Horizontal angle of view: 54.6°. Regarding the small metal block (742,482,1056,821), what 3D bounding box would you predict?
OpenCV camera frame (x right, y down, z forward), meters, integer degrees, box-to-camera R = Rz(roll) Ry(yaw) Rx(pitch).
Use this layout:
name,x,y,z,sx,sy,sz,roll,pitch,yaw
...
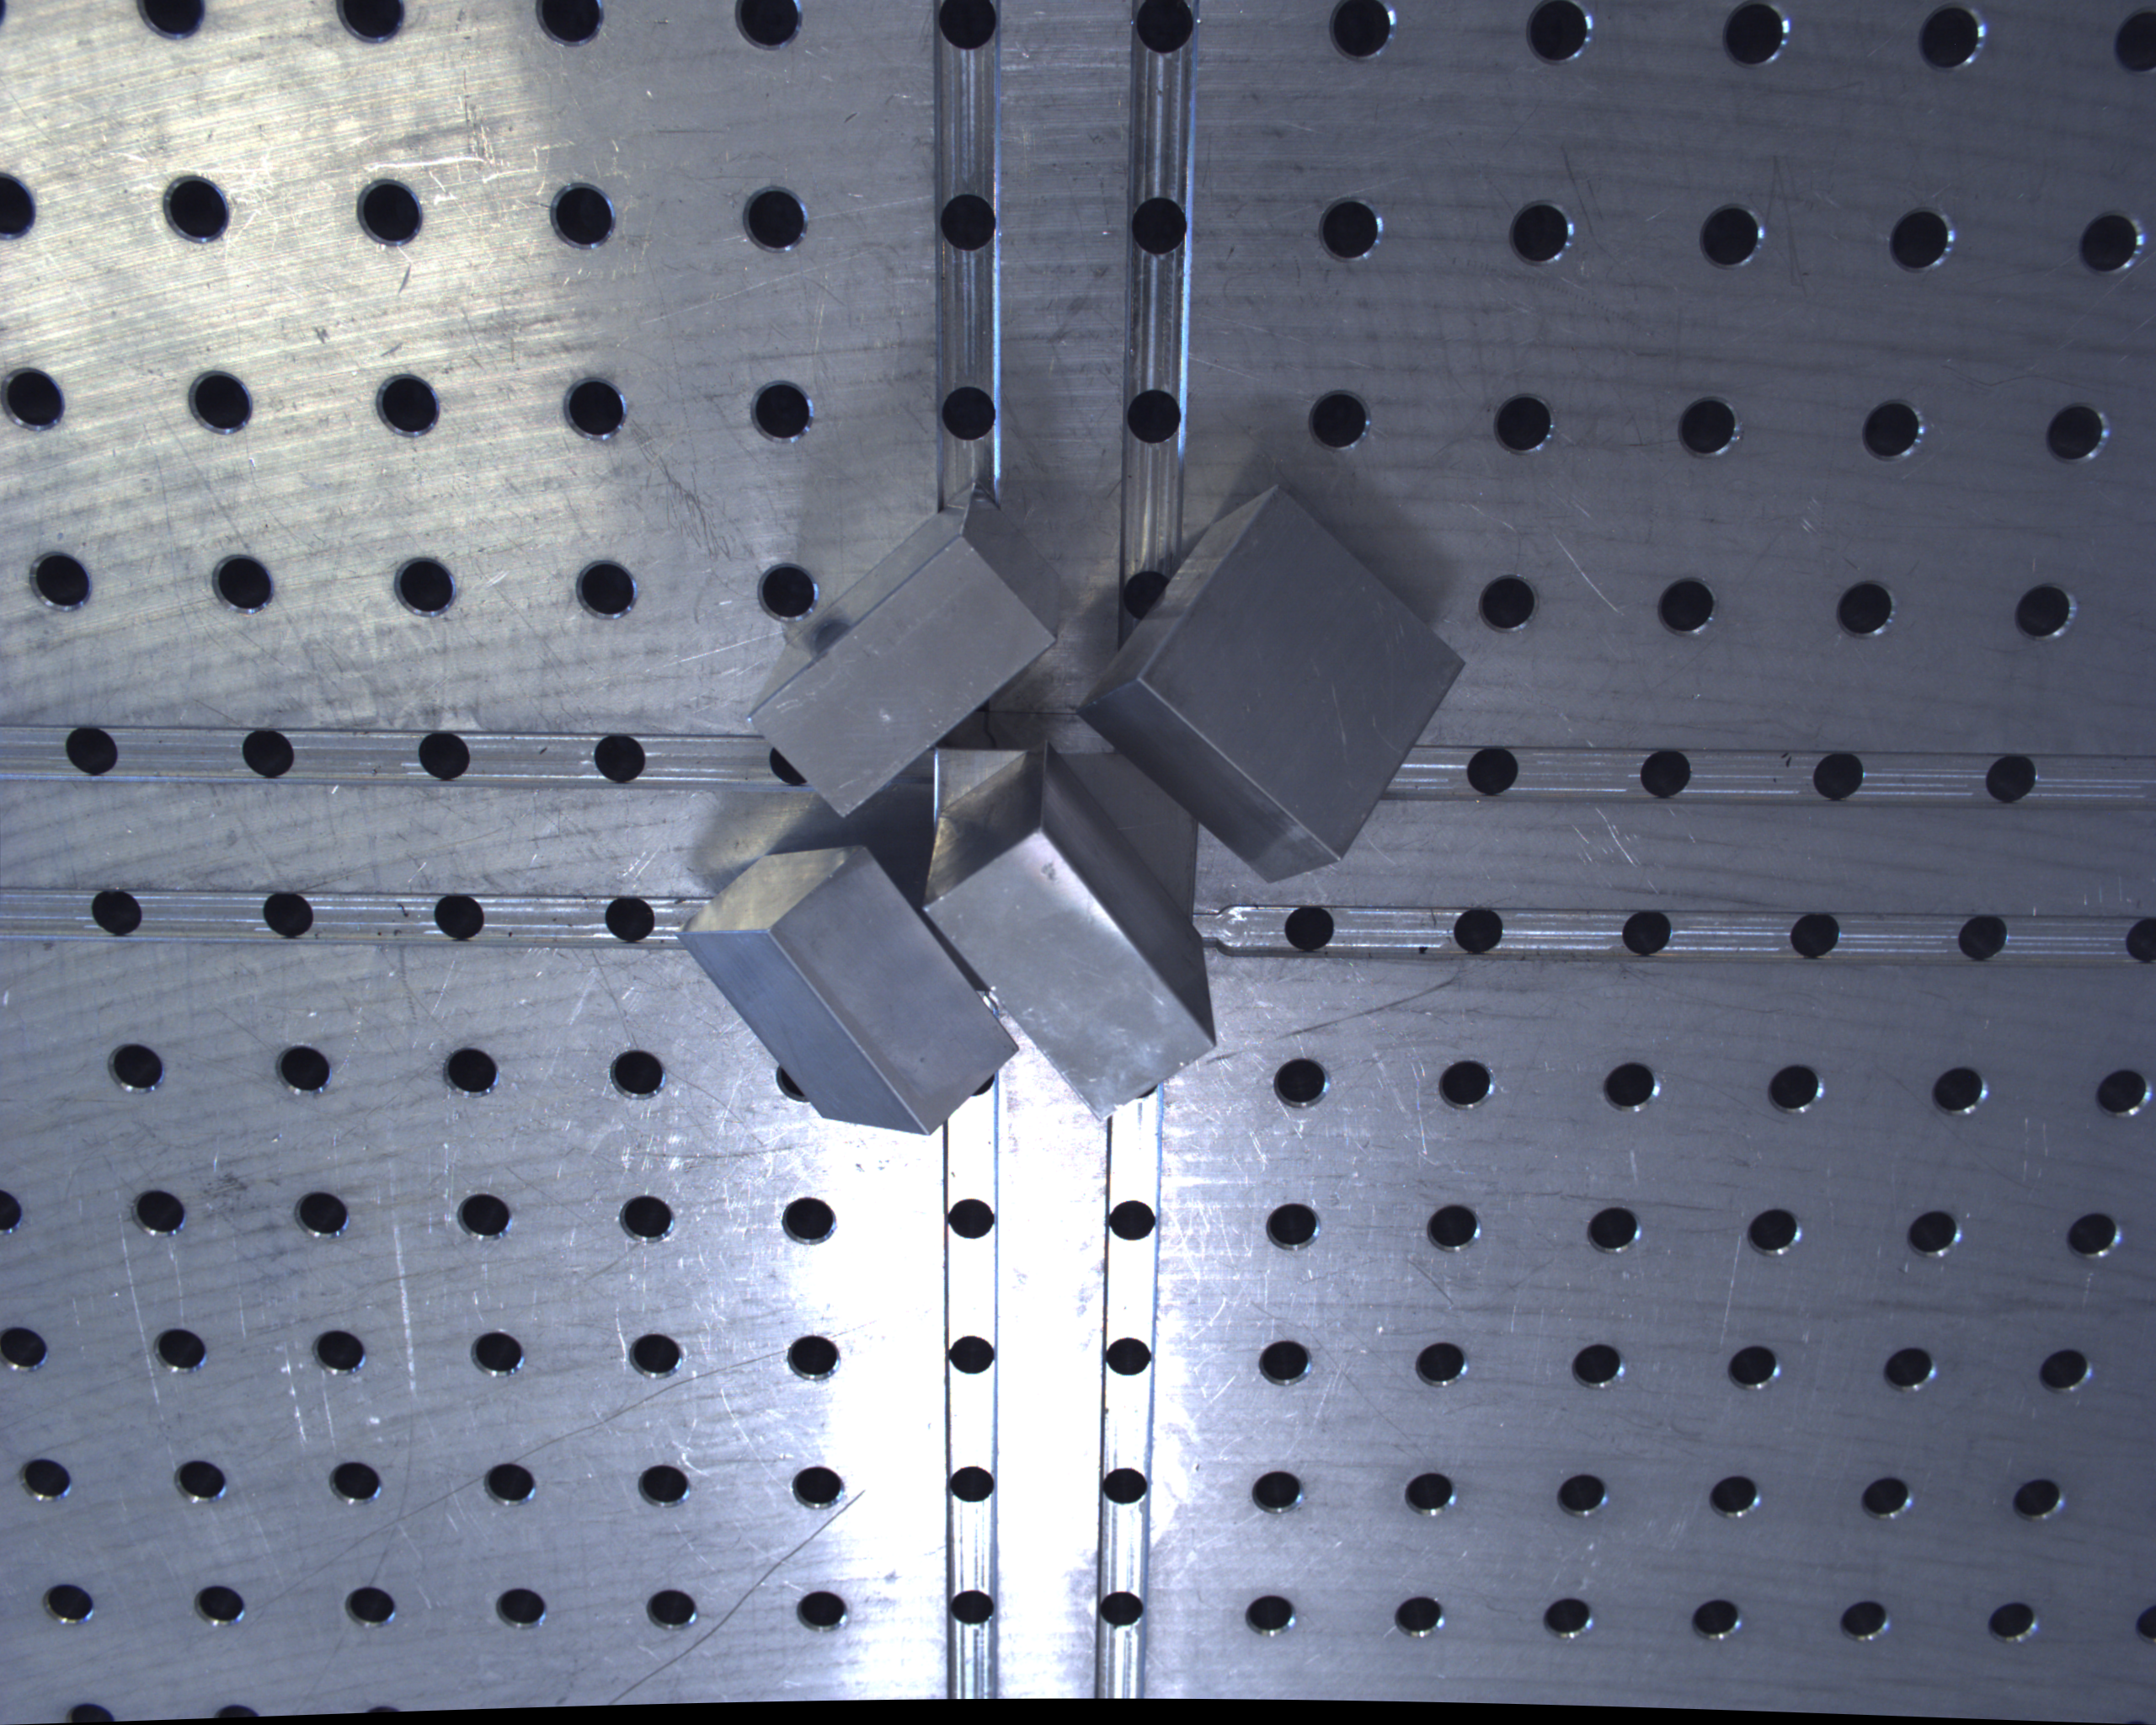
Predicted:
name,x,y,z,sx,sy,sz,roll,pitch,yaw
small metal block,-0.031,-0.040,0.385,0.050,0.050,0.025,-39,106,13

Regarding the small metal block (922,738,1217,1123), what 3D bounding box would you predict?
name,x,y,z,sx,sy,sz,roll,pitch,yaw
small metal block,-0.001,0.011,0.377,0.025,0.050,0.050,-35,107,11

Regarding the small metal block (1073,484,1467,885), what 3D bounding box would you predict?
name,x,y,z,sx,sy,sz,roll,pitch,yaw
small metal block,0.036,-0.032,0.387,0.050,0.025,0.050,41,65,-13

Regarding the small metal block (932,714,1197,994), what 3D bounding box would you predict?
name,x,y,z,sx,sy,sz,roll,pitch,yaw
small metal block,-0.003,-0.002,0.412,0.050,0.025,0.050,0,110,-2

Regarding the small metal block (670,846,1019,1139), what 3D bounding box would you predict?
name,x,y,z,sx,sy,sz,roll,pitch,yaw
small metal block,-0.046,0.025,0.406,0.025,0.050,0.050,-43,109,-25
